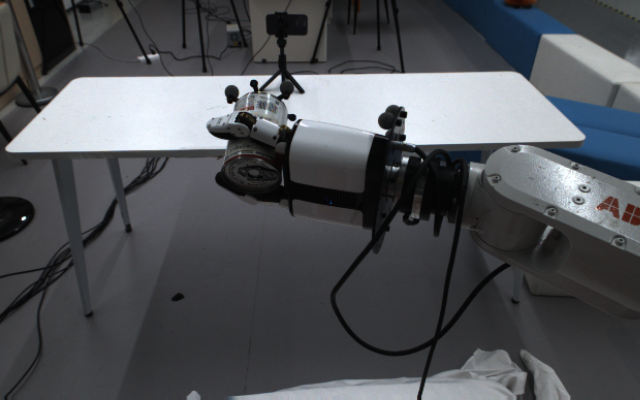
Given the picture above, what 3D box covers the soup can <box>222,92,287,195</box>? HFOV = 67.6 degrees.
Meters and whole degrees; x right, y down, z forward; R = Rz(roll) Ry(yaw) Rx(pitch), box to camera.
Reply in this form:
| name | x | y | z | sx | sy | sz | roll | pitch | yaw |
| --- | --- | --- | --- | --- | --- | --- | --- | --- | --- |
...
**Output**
| name | x | y | z | sx | sy | sz | roll | pitch | yaw |
| --- | --- | --- | --- | --- | --- | --- | --- | --- | --- |
| soup can | -0.073 | -0.067 | 0.563 | 0.067 | 0.067 | 0.101 | 3 | 56 | 1 |
